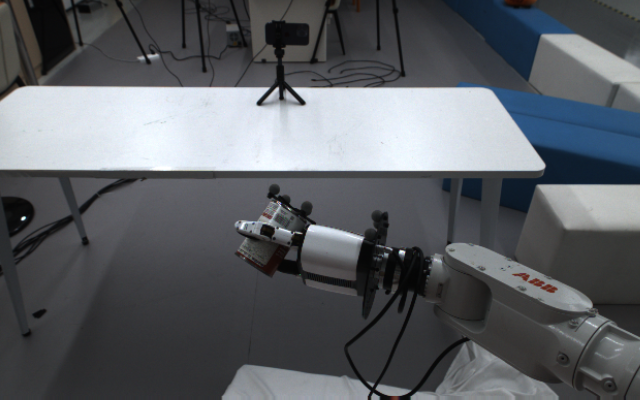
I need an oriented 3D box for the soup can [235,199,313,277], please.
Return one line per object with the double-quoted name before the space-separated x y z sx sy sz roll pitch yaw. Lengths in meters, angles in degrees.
"soup can" -0.074 0.060 0.742 0.067 0.067 0.101 27 78 31
